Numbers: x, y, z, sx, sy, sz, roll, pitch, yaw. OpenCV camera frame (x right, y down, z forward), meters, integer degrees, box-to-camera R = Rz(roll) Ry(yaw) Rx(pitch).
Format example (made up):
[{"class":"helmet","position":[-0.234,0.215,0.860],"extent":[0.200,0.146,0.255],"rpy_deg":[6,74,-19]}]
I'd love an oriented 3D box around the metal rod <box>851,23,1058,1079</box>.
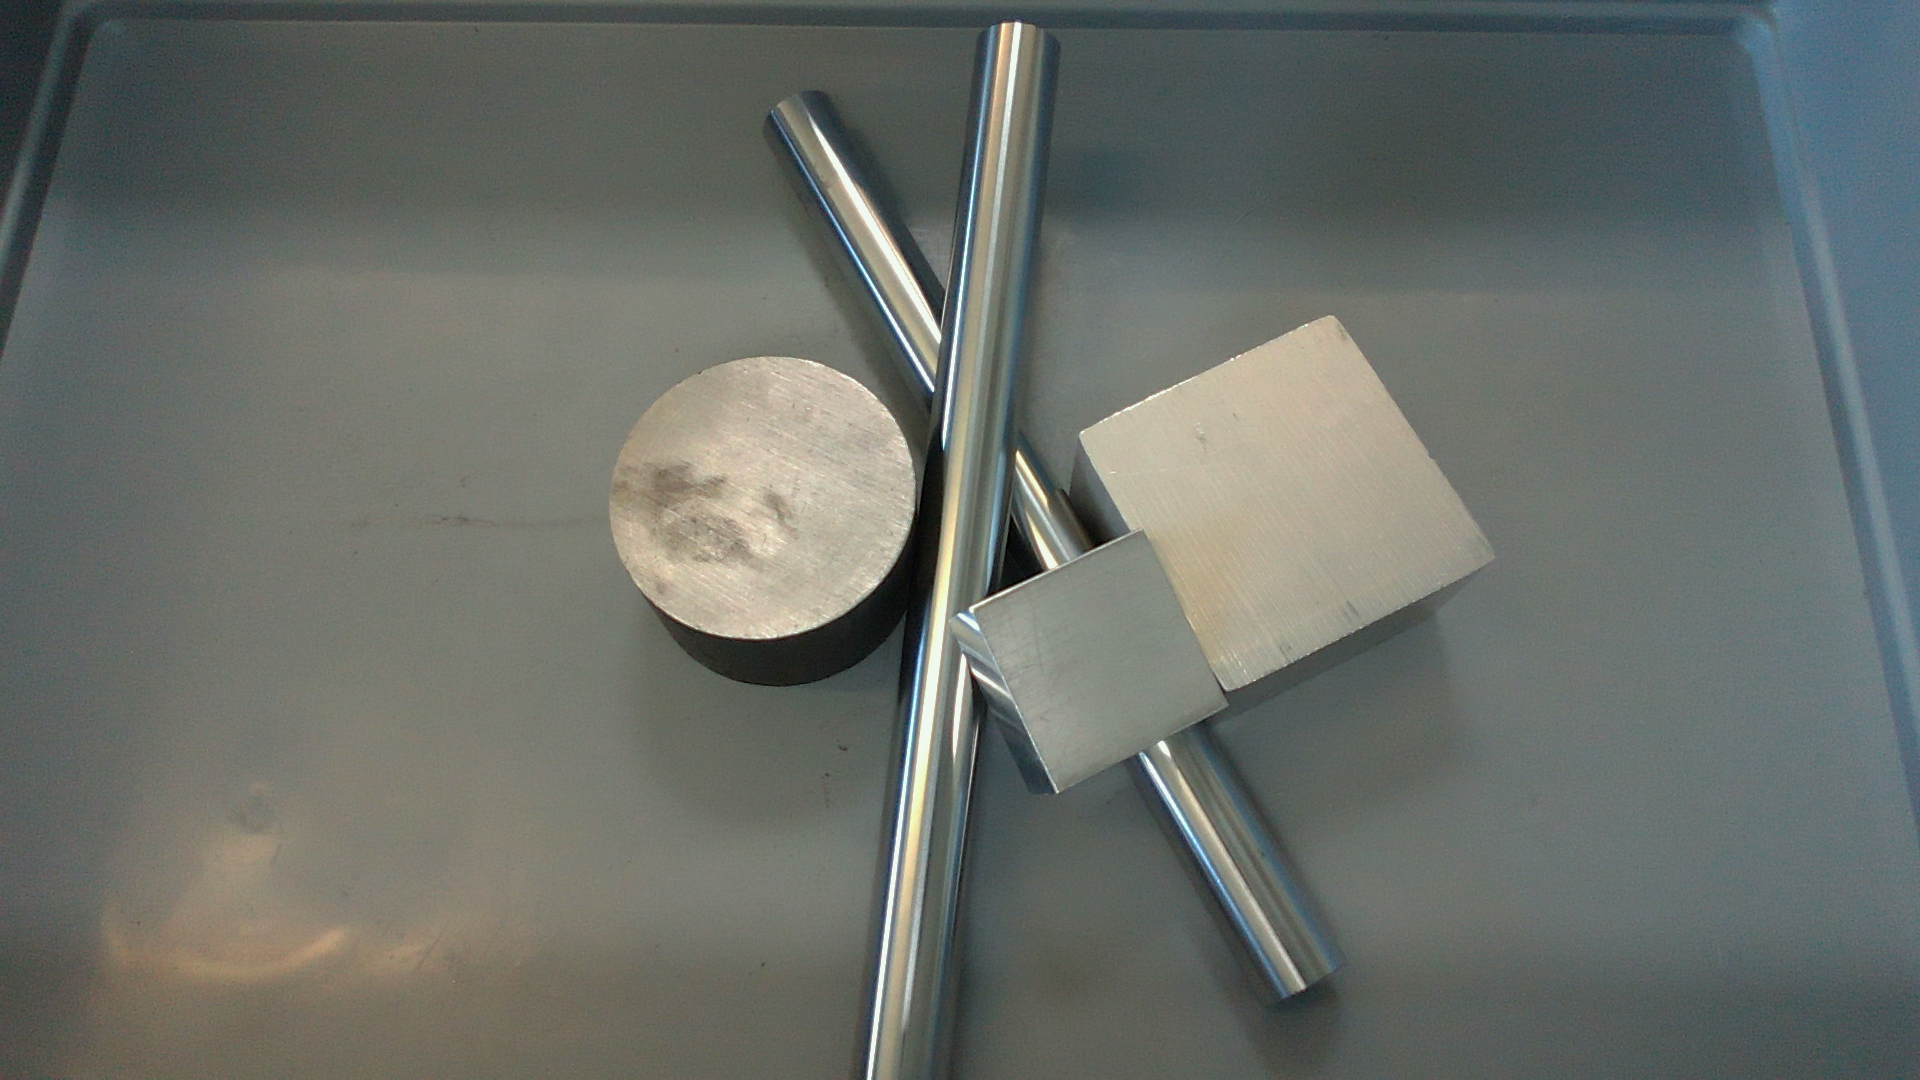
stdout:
[{"class":"metal rod","position":[0.000,0.001,0.372],"extent":[0.025,0.025,0.300],"rpy_deg":[6,78,2]}]

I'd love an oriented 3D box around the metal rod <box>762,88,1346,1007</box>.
[{"class":"metal rod","position":[0.018,-0.011,0.397],"extent":[0.025,0.025,0.300],"rpy_deg":[-26,73,-9]}]

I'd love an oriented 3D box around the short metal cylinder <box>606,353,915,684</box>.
[{"class":"short metal cylinder","position":[-0.052,-0.004,0.382],"extent":[0.080,0.050,0.080],"rpy_deg":[0,70,0]}]

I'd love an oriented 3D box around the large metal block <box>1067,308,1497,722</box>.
[{"class":"large metal block","position":[0.084,-0.004,0.381],"extent":[0.080,0.050,0.080],"rpy_deg":[-26,72,-9]}]

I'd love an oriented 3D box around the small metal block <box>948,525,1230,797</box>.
[{"class":"small metal block","position":[0.032,0.031,0.348],"extent":[0.050,0.025,0.050],"rpy_deg":[-24,87,-17]}]
